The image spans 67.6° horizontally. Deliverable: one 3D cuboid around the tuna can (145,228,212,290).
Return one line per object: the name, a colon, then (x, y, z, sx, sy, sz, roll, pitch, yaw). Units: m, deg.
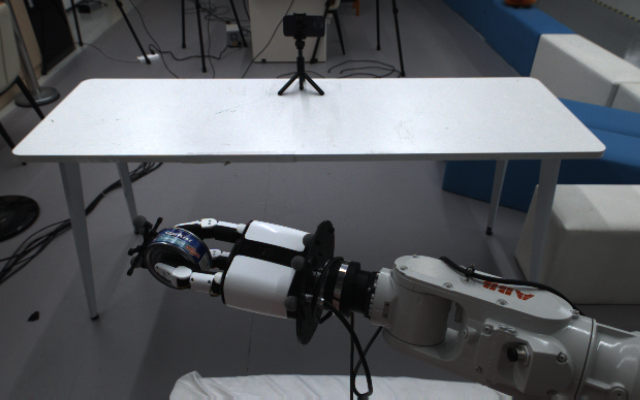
tuna can: (-0.189, 0.082, 0.650, 0.085, 0.085, 0.034, 8, 36, 9)
